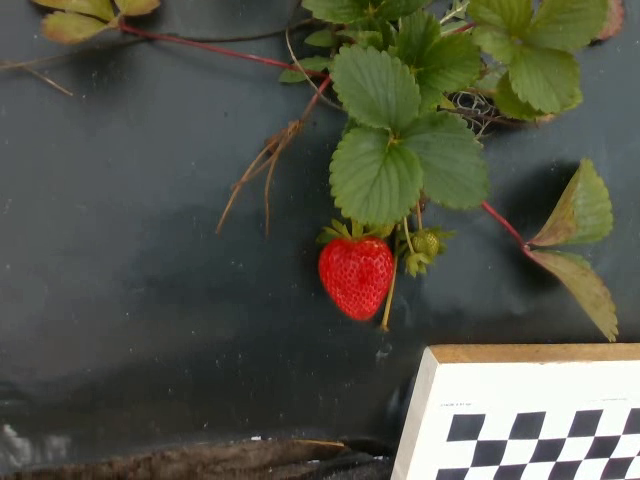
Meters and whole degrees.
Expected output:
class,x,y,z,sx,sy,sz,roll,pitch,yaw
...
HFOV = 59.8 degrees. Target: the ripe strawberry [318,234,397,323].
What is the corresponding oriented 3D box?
class,x,y,z,sx,sy,sz,roll,pitch,yaw
ripe strawberry,0.007,0.007,0.095,0.018,0.017,0.014,4,-20,-27
